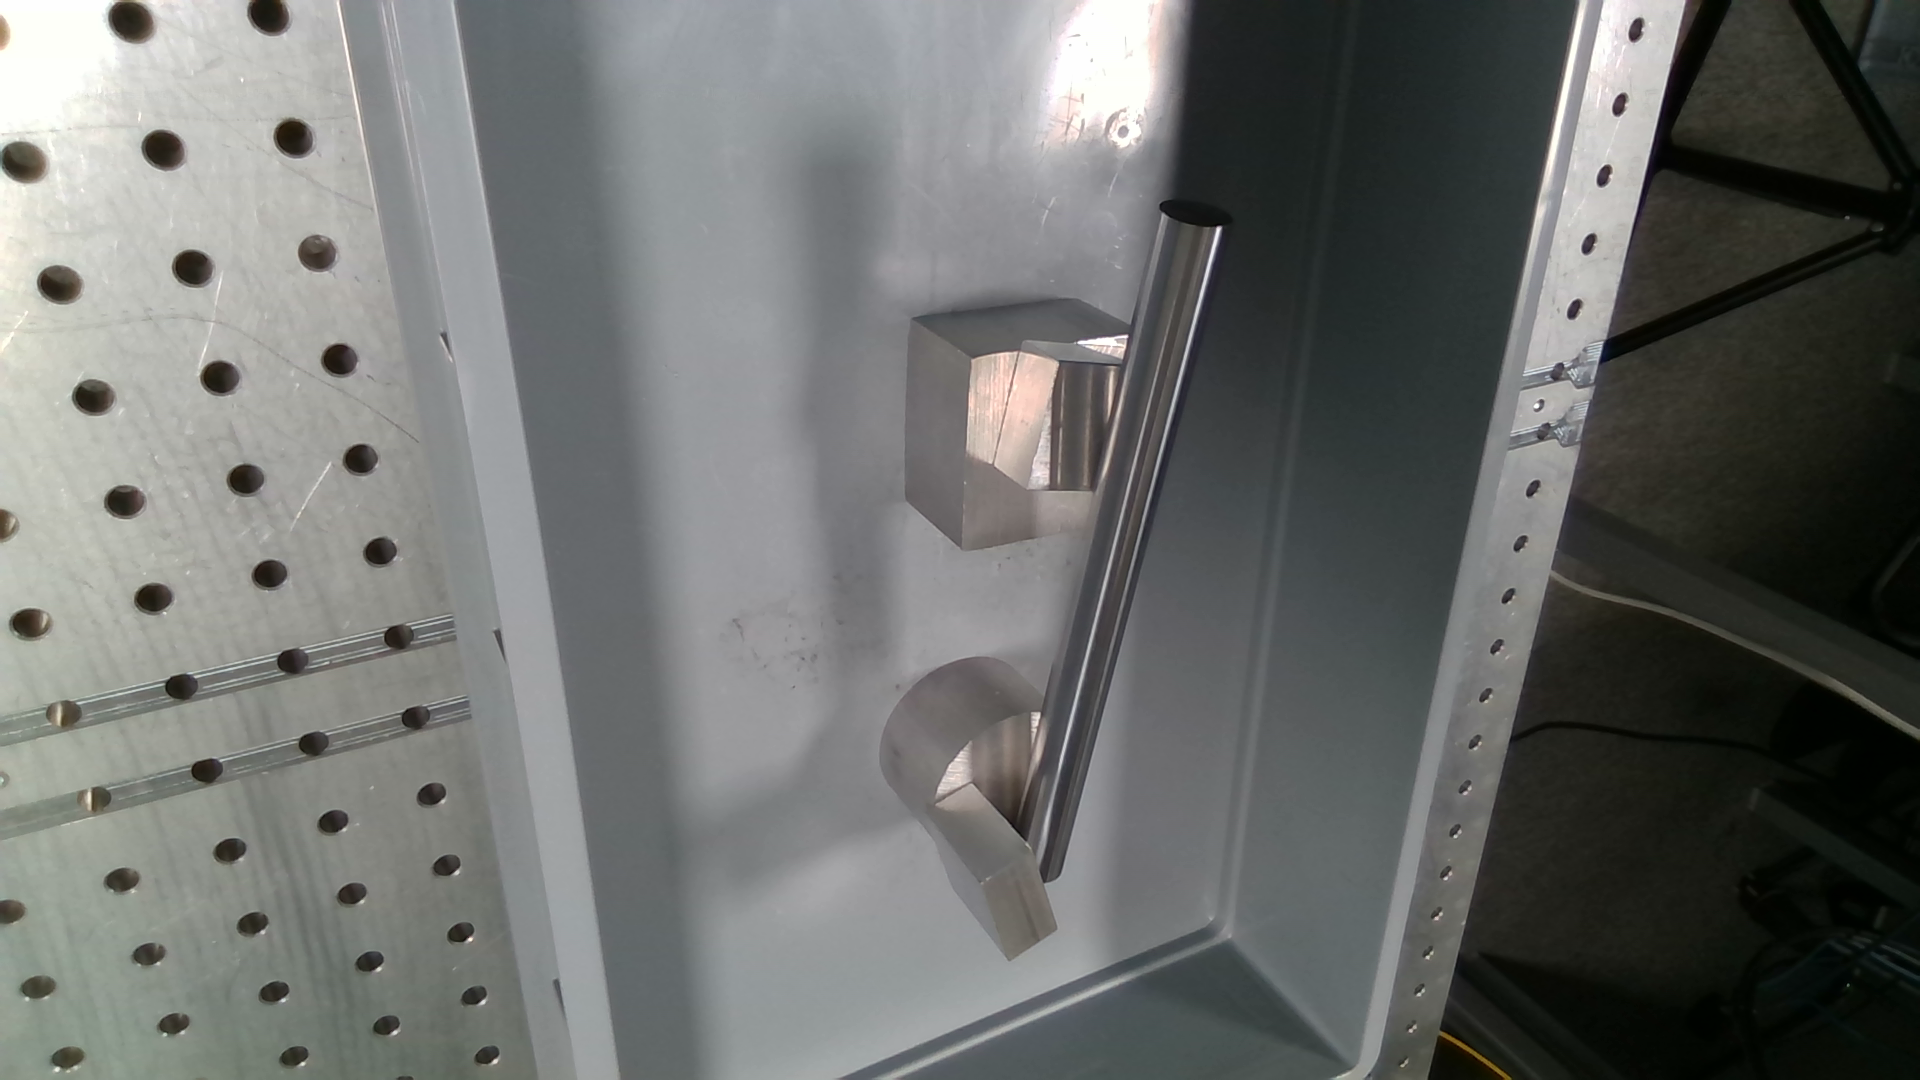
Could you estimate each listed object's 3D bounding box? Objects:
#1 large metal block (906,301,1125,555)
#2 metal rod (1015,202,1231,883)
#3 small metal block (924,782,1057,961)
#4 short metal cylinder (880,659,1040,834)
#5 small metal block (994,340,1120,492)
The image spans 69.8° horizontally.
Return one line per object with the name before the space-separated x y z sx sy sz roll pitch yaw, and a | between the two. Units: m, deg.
large metal block | 0.026 -0.047 0.552 0.080 0.050 0.080 -12 120 -26
metal rod | 0.054 0.018 0.532 0.025 0.025 0.301 -9 127 -28
small metal block | 0.013 0.139 0.580 0.025 0.050 0.050 -27 126 -17
short metal cylinder | 0.011 0.100 0.623 0.080 0.050 0.080 -14 122 -25
small metal block | 0.045 -0.046 0.517 0.050 0.025 0.050 -2 116 -31
